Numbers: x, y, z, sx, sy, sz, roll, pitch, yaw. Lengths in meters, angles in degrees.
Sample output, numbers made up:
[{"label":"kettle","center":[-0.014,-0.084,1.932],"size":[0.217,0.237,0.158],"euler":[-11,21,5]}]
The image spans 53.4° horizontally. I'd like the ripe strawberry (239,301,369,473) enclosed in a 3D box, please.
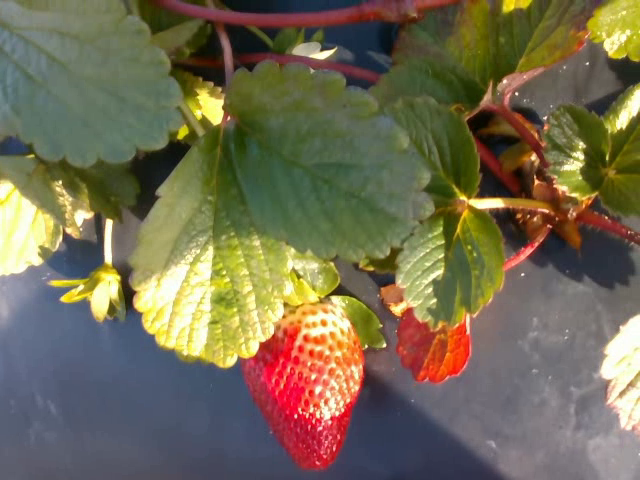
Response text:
[{"label":"ripe strawberry","center":[-0.006,0.044,0.189],"size":[0.040,0.056,0.040],"euler":[8,-25,-38]}]
